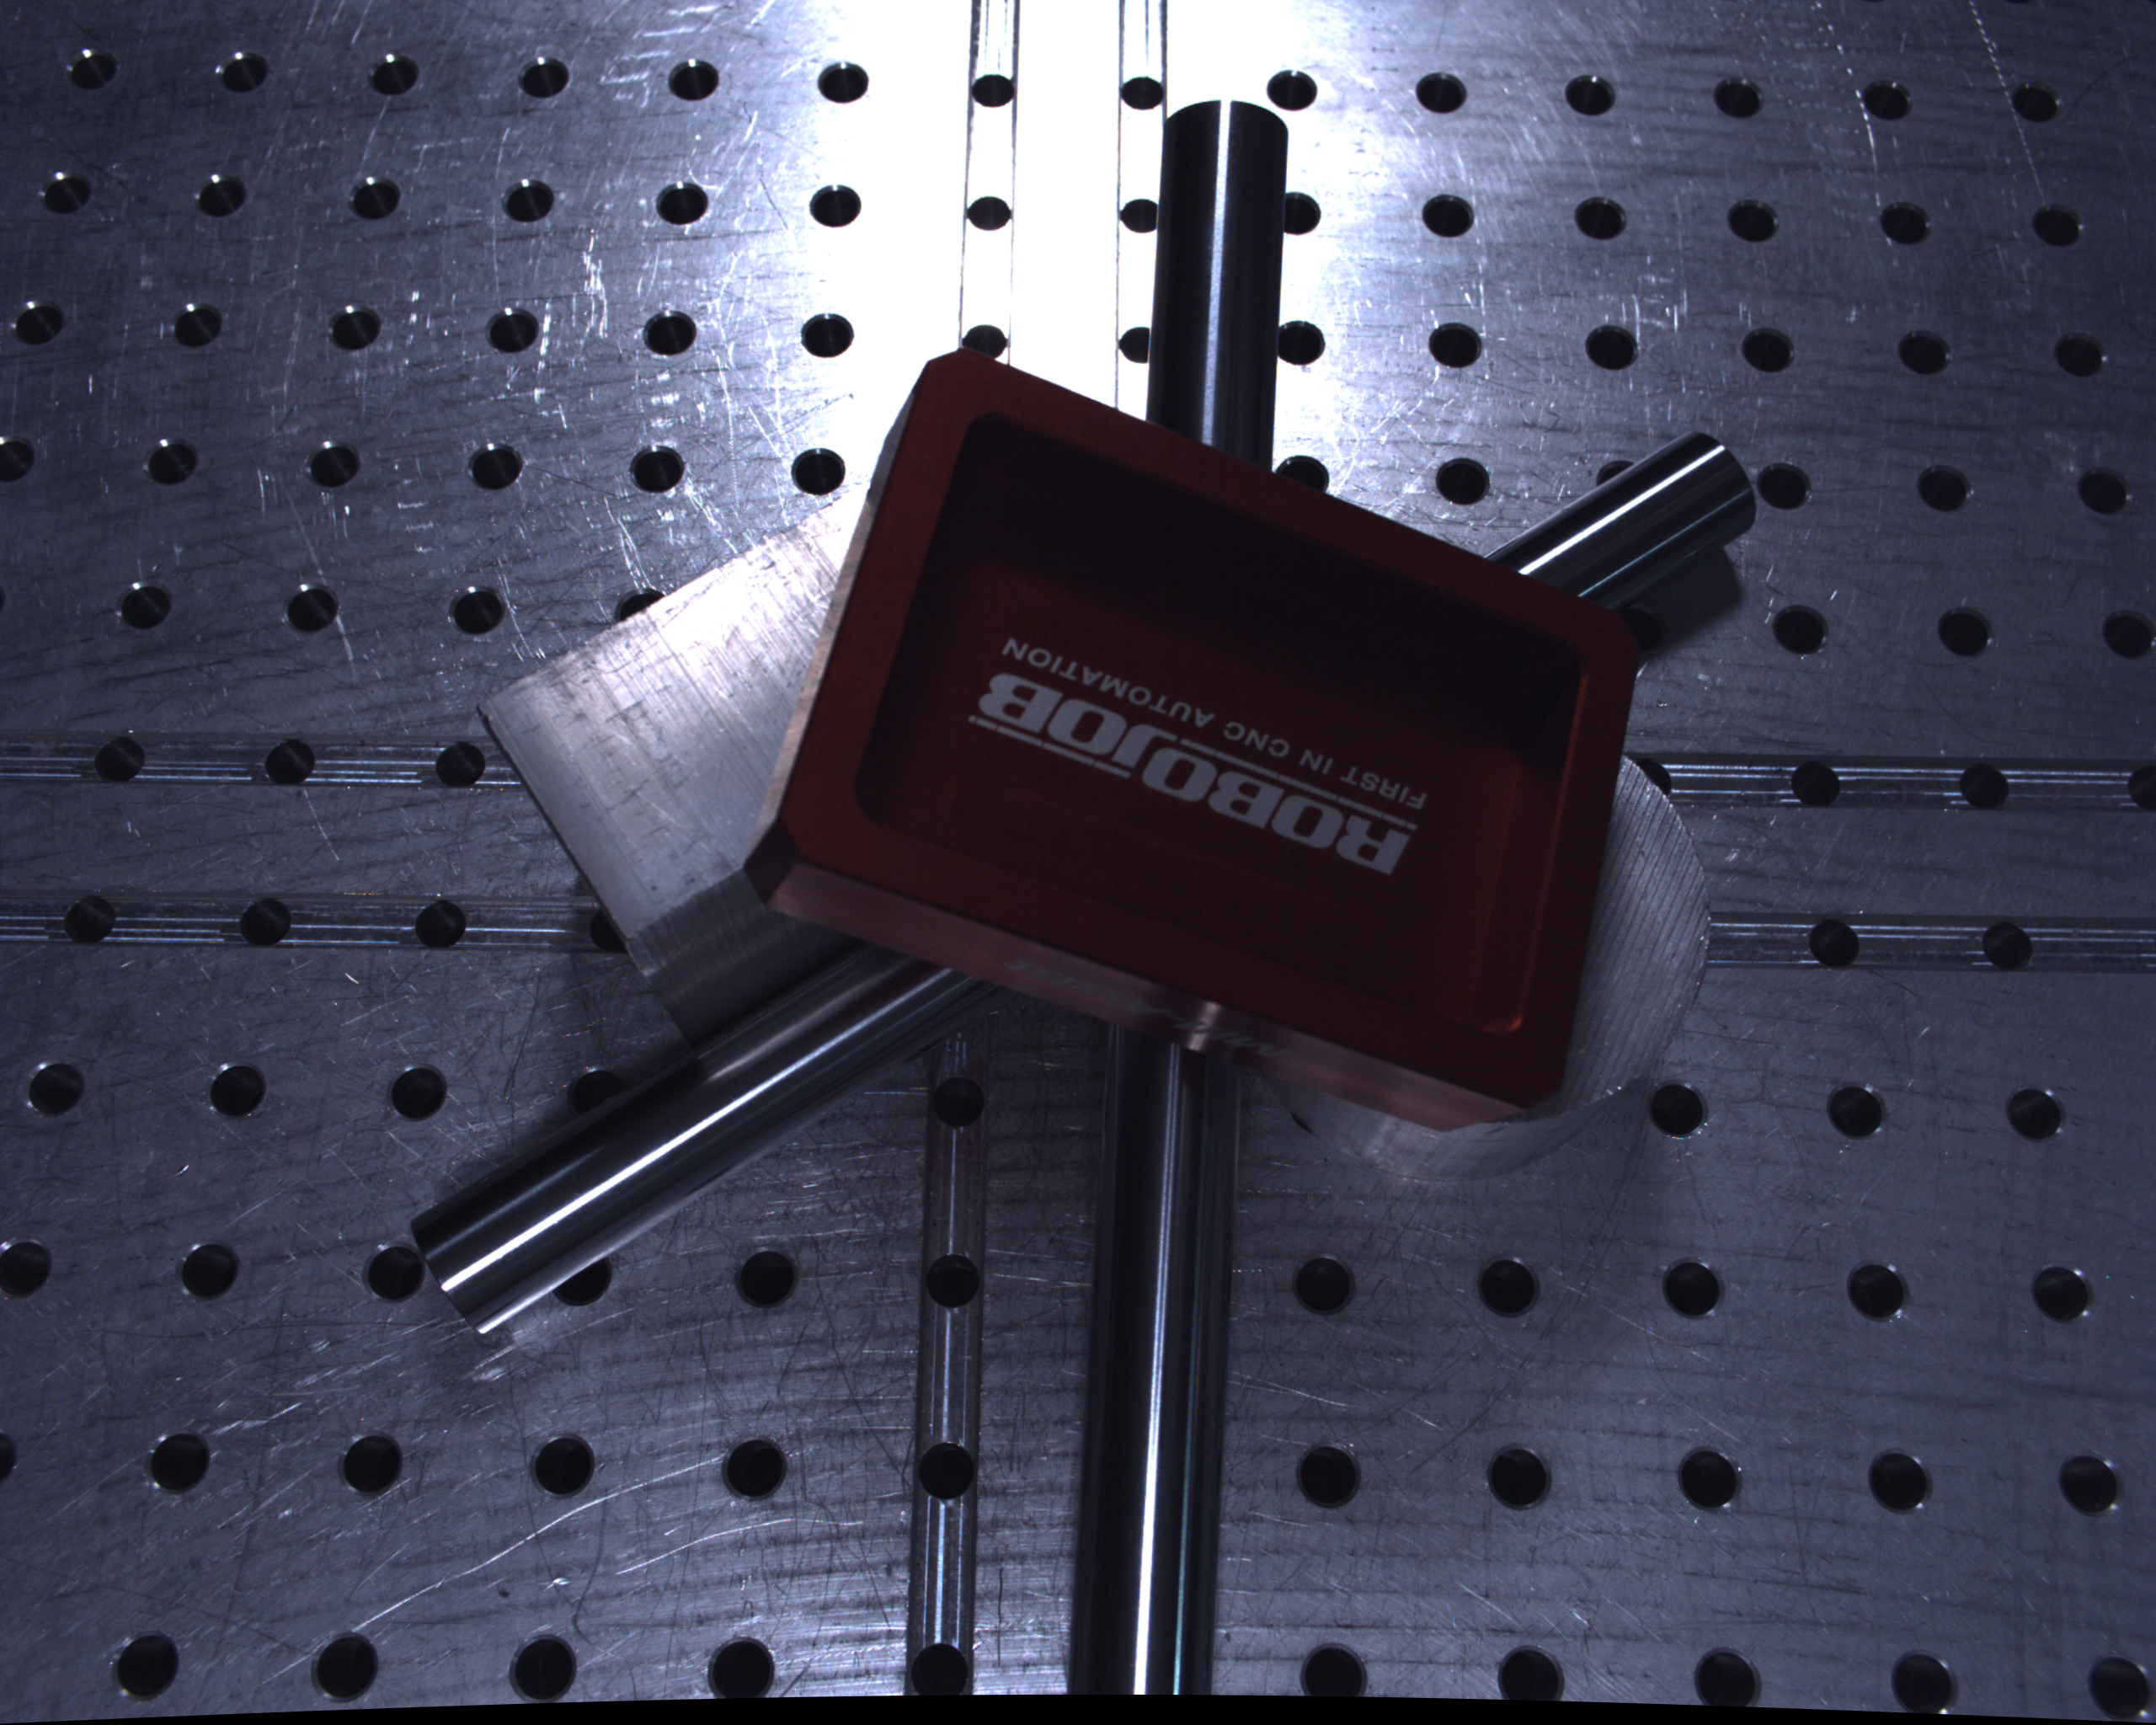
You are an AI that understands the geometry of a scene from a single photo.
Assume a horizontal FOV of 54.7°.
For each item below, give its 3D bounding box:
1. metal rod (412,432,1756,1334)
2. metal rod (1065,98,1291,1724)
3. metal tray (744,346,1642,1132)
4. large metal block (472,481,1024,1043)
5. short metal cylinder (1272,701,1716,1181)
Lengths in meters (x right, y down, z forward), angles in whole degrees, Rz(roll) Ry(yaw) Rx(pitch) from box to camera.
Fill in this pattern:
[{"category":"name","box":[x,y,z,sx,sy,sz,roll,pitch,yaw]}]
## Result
[{"category":"metal rod","box":[0.010,-0.002,0.413,0.301,0.025,0.025,-32,74,-12]},{"category":"metal rod","box":[0.020,0.000,0.388,0.025,0.025,0.299,4,79,1]},{"category":"metal tray","box":[0.022,-0.018,0.341,0.131,0.030,0.090,19,70,-13]},{"category":"large metal block","box":[-0.054,-0.014,0.386,0.080,0.080,0.050,-32,74,-11]},{"category":"short metal cylinder","box":[0.072,0.016,0.392,0.081,0.050,0.080,0,70,0]}]
